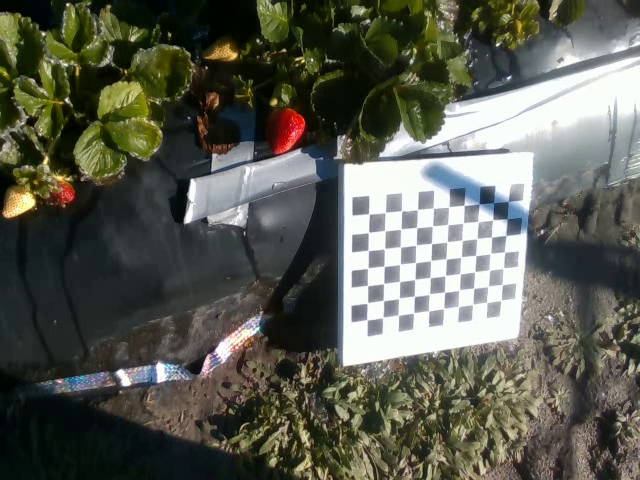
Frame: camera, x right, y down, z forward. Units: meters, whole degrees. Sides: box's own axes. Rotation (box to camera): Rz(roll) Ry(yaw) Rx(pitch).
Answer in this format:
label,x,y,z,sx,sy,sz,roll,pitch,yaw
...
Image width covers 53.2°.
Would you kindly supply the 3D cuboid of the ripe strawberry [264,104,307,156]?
label,x,y,z,sx,sy,sz,roll,pitch,yaw
ripe strawberry,-0.042,-0.130,0.798,0.061,0.065,0.057,29,-43,-28
